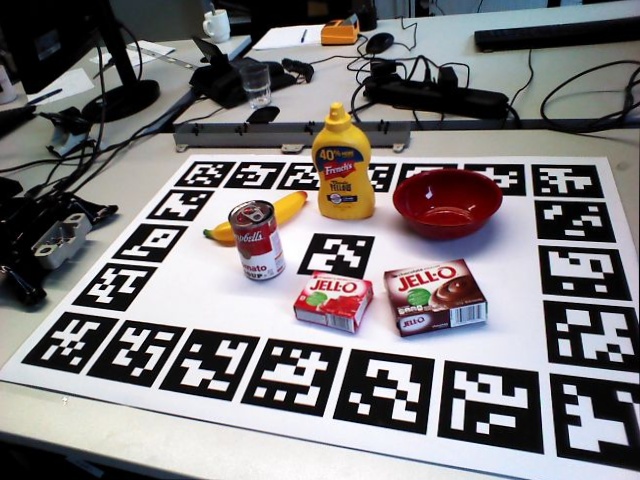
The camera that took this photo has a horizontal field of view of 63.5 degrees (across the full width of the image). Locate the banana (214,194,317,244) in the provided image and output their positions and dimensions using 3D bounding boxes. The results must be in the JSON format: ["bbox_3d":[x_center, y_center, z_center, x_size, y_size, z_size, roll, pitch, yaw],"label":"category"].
[{"bbox_3d":[-0.079,-0.034,0.881,0.196,0.039,0.074,-25,28,-20],"label":"banana"}]

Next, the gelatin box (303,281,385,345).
[{"bbox_3d":[0.032,0.094,0.685,0.090,0.030,0.073,8,43,24],"label":"gelatin box"}]

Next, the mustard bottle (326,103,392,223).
[{"bbox_3d":[0.060,-0.120,0.813,0.097,0.192,0.058,4,36,18],"label":"mustard bottle"}]

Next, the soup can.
[{"bbox_3d":[-0.077,0.002,0.761,0.068,0.102,0.067,-5,35,3],"label":"soup can"}]

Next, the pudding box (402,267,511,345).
[{"bbox_3d":[0.169,0.081,0.660,0.114,0.039,0.089,-11,41,-1],"label":"pudding box"}]

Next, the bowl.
[{"bbox_3d":[0.228,-0.035,0.795,0.162,0.055,0.161,-8,35,5],"label":"bowl"}]
